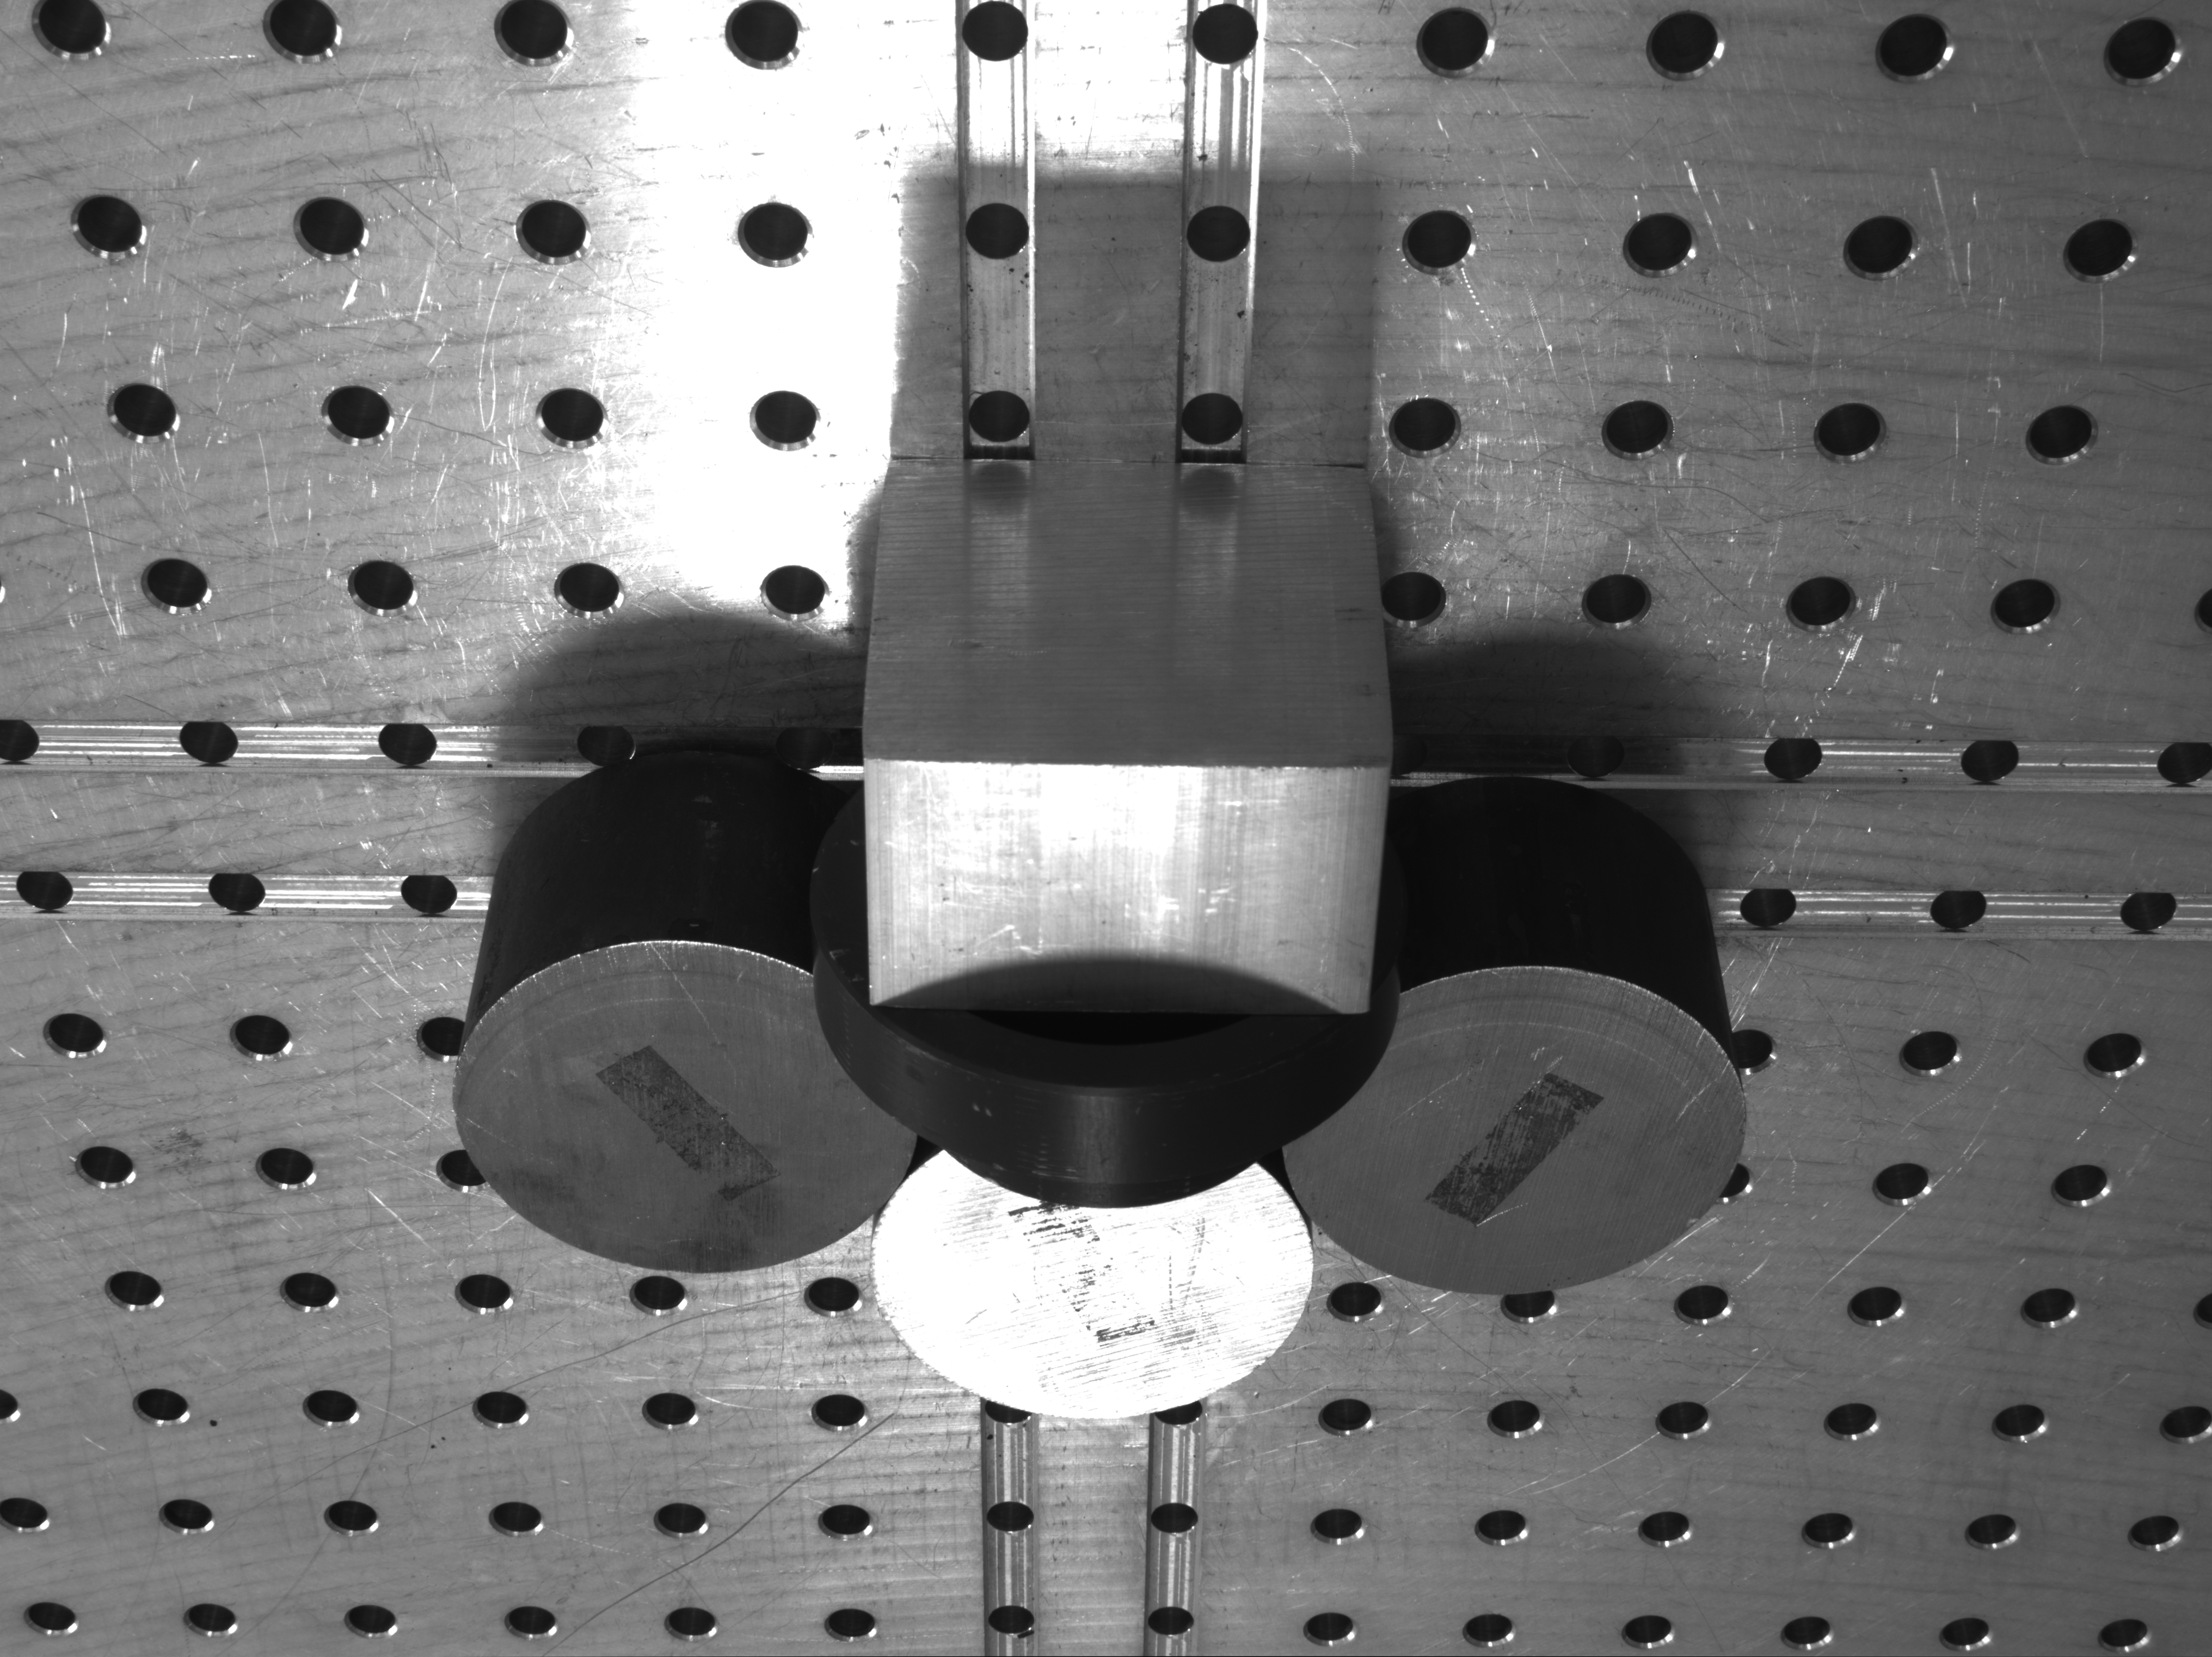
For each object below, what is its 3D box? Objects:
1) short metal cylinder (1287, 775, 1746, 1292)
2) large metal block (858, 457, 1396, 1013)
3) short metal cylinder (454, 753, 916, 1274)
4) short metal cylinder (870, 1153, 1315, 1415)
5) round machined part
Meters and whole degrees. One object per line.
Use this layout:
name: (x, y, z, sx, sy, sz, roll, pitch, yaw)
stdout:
short metal cylinder: (0.071, 0.037, 0.658, 0.080, 0.050, 0.080, 0, 130, 0)
large metal block: (0.003, -0.016, 0.593, 0.080, 0.080, 0.050, 1, 130, 0)
short metal cylinder: (-0.072, 0.033, 0.655, 0.080, 0.050, 0.080, 0, 130, 0)
short metal cylinder: (-0.002, 0.063, 0.680, 0.080, 0.050, 0.080, 0, 130, 0)
round machined part: (0.000, 0.027, 0.615, 0.098, 0.098, 0.042, 1, 129, -1)
